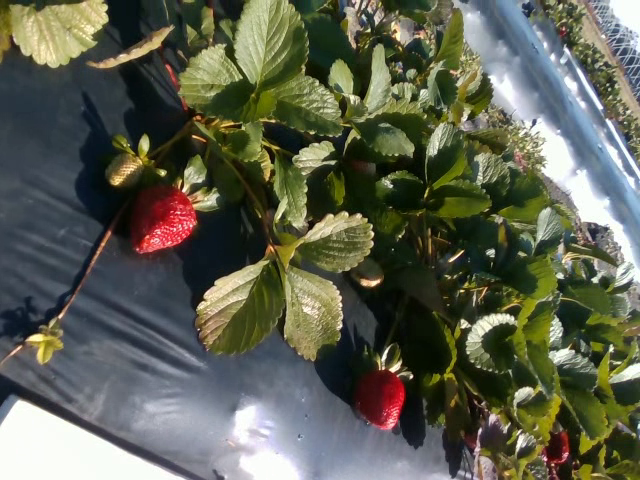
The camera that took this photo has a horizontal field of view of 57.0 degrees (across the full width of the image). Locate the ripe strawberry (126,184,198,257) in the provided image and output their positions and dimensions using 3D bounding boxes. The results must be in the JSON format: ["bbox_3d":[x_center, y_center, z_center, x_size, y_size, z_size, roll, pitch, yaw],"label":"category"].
[{"bbox_3d":[-0.089,-0.009,0.328,0.043,0.042,0.053,-27,30,15],"label":"ripe strawberry"}]

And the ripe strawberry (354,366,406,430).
[{"bbox_3d":[0.044,0.118,0.423,0.043,0.043,0.050,-13,16,6],"label":"ripe strawberry"}]
